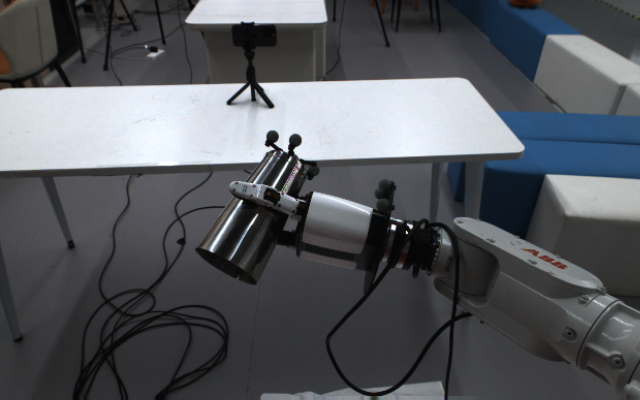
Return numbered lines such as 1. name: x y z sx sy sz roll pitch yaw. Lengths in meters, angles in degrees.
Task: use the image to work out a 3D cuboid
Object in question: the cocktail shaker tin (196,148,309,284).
1. cocktail shaker tin: -0.082 0.015 0.655 0.093 0.093 0.170 18 66 21
